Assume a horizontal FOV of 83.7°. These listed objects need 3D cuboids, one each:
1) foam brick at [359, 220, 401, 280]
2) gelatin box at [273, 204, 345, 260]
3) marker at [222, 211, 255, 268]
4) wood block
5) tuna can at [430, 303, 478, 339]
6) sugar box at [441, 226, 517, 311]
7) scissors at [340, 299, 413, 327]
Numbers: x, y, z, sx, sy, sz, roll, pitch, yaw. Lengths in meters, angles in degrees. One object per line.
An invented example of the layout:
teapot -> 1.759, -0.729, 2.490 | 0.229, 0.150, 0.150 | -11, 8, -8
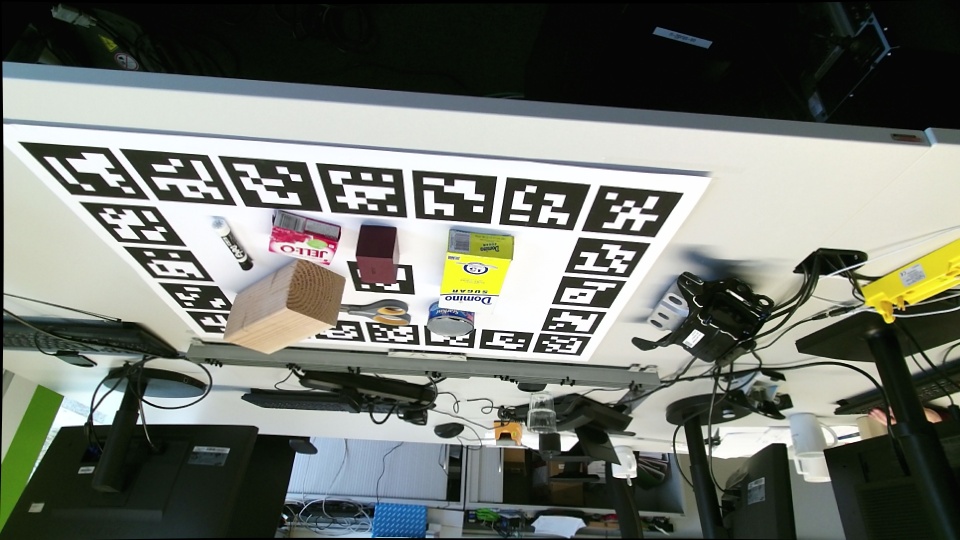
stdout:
foam brick -> -0.143, -0.029, 0.776 | 0.053, 0.051, 0.078 | 5, 146, -5
gelatin box -> -0.246, -0.053, 0.770 | 0.090, 0.030, 0.073 | 15, 144, -19
marker -> -0.359, -0.042, 0.800 | 0.020, 0.019, 0.121 | 5, 145, -4
wood block -> -0.333, 0.059, 0.899 | 0.206, 0.090, 0.090 | -24, 140, 35
tuna can -> -0.047, 0.091, 0.972 | 0.086, 0.033, 0.086 | 1, 146, 1
sugar box -> -0.006, 0.002, 0.831 | 0.093, 0.045, 0.176 | 7, 147, -6
scissors -> -0.221, 0.073, 0.977 | 0.204, 0.016, 0.088 | 6, 147, -11
